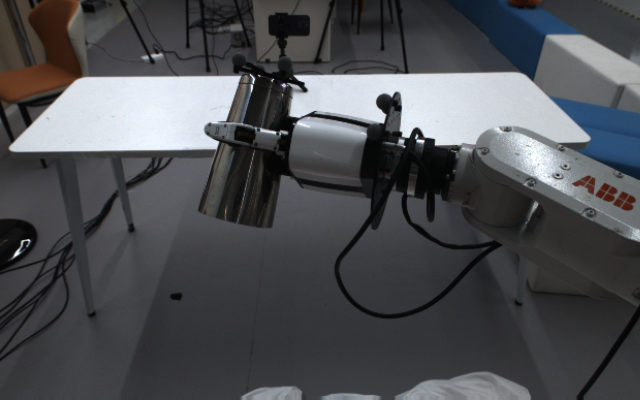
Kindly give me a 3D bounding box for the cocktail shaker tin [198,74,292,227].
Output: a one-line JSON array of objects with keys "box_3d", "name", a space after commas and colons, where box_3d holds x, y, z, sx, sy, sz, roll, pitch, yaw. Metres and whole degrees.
[{"box_3d": [-0.084, -0.059, 0.589, 0.093, 0.170, 0.093, 14, 2, 0], "name": "cocktail shaker tin"}]
